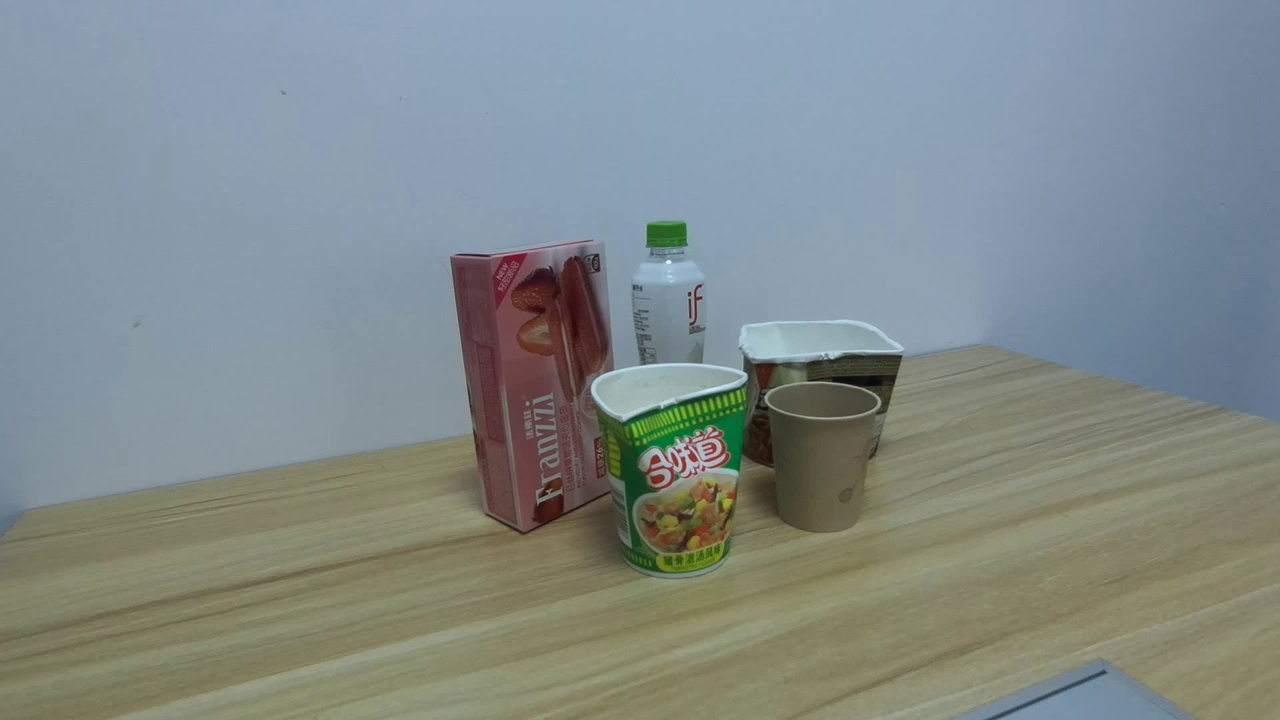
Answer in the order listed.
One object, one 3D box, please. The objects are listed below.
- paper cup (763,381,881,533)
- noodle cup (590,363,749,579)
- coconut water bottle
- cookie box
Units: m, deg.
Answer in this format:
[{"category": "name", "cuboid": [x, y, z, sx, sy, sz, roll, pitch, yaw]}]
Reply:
[{"category": "paper cup", "cuboid": [0.118, 0.064, 0.462, 0.075, 0.082, 0.075, -3, 15, 1]}, {"category": "noodle cup", "cuboid": [0.021, 0.065, 0.429, 0.094, 0.109, 0.086, -7, 17, -13]}, {"category": "coconut water bottle", "cuboid": [0.025, -0.012, 0.556, 0.063, 0.188, 0.063, -2, 13, 1]}, {"category": "cookie box", "cuboid": [-0.066, 0.014, 0.490, 0.048, 0.184, 0.096, 10, 20, 44]}]
